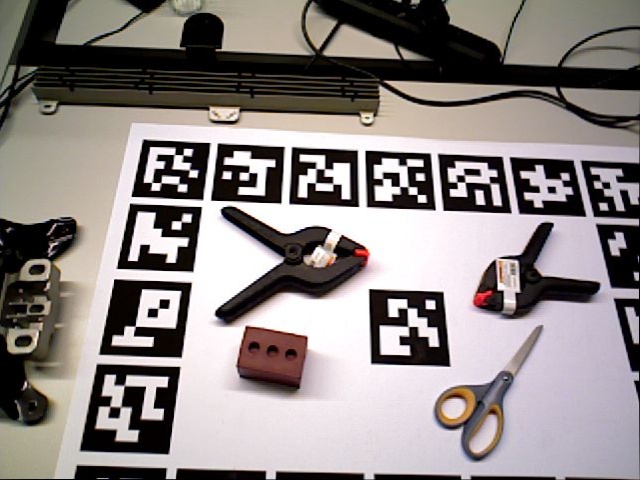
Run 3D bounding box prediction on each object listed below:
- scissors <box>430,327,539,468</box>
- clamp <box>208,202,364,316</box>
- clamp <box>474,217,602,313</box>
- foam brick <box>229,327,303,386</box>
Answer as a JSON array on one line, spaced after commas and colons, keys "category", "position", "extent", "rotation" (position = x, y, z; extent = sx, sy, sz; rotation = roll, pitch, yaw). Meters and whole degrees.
[{"category": "scissors", "position": [0.215, 0.176, 0.664], "extent": [0.087, 0.016, 0.199], "rotation": [42, 68, 7]}, {"category": "clamp", "position": [-0.043, 0.021, 0.716], "extent": [0.201, 0.037, 0.163], "rotation": [0, 61, -5]}, {"category": "clamp", "position": [0.280, 0.048, 0.726], "extent": [0.163, 0.037, 0.121], "rotation": [-23, 75, -13]}, {"category": "foam brick", "position": [-0.063, 0.140, 0.652], "extent": [0.078, 0.052, 0.052], "rotation": [8, 65, 5]}]
